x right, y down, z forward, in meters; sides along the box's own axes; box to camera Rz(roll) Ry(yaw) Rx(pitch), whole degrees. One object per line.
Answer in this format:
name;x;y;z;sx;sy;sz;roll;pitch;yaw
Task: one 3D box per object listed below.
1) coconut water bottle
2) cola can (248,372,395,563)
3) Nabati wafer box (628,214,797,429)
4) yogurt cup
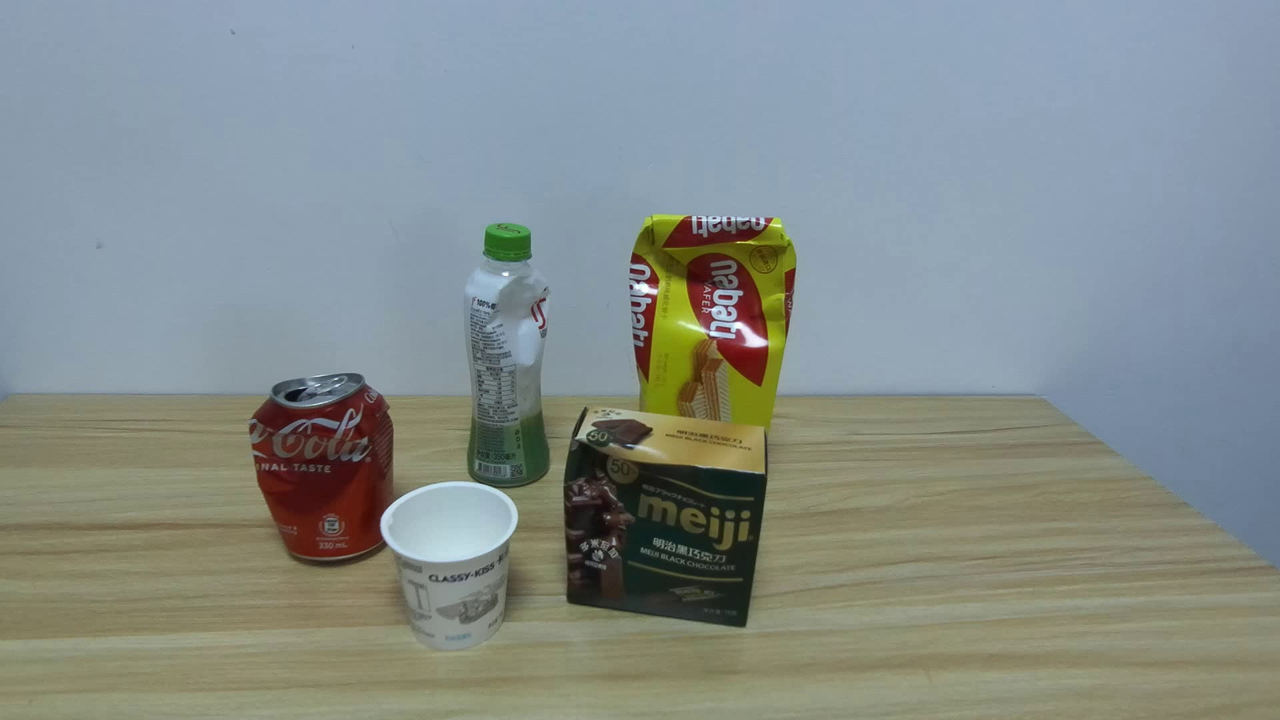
coconut water bottle;-0.096;-0.003;0.513;0.069;0.187;0.069;4;21;-1
cola can;-0.190;0.065;0.438;0.069;0.112;0.065;8;24;11
Nabati wafer box;0.049;0.001;0.503;0.113;0.205;0.042;0;21;-3
yogurt cup;-0.103;0.116;0.392;0.072;0.068;0.072;3;24;-1
